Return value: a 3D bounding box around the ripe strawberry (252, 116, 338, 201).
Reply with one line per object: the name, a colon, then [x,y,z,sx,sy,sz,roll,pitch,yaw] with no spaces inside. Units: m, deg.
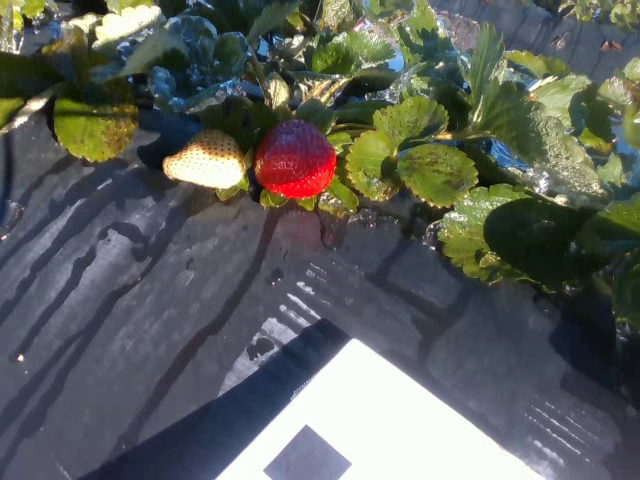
ripe strawberry: [-0.017,-0.037,0.317,0.042,0.046,0.061,20,14,19]
